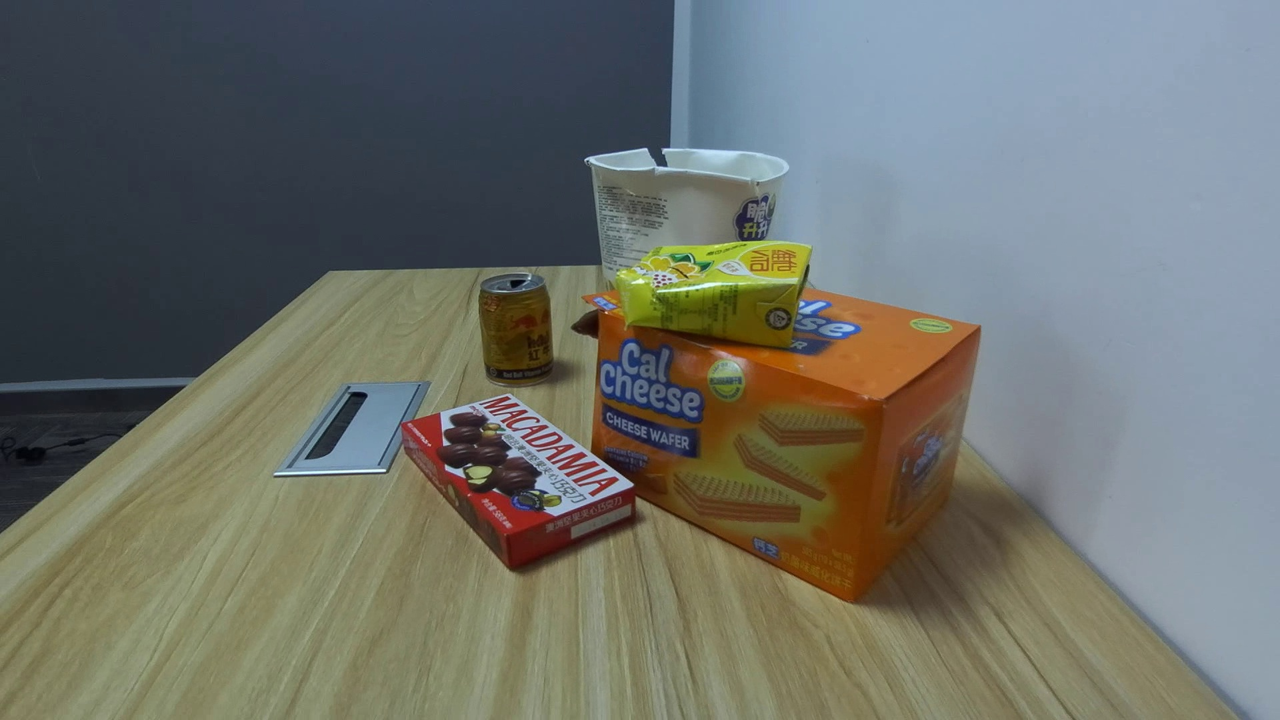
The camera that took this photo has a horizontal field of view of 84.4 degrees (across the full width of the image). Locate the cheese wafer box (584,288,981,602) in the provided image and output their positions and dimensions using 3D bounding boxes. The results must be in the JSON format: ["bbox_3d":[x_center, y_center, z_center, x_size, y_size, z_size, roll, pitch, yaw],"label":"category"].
[{"bbox_3d":[0.084,0.026,0.476,0.226,0.137,0.150,20,30,38],"label":"cheese wafer box"}]

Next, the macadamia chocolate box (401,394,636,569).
[{"bbox_3d":[-0.092,0.076,0.502,0.096,0.027,0.177,-15,28,-34],"label":"macadamia chocolate box"}]

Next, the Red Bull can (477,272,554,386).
[{"bbox_3d":[-0.116,-0.029,0.666,0.068,0.093,0.068,0,21,0],"label":"Red Bull can"}]

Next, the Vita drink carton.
[{"bbox_3d":[0.047,-0.042,0.434,0.108,0.042,0.087,5,32,20],"label":"Vita drink carton"}]

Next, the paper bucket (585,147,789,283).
[{"bbox_3d":[0.043,-0.098,0.686,0.202,0.197,0.146,13,25,25],"label":"paper bucket"}]
